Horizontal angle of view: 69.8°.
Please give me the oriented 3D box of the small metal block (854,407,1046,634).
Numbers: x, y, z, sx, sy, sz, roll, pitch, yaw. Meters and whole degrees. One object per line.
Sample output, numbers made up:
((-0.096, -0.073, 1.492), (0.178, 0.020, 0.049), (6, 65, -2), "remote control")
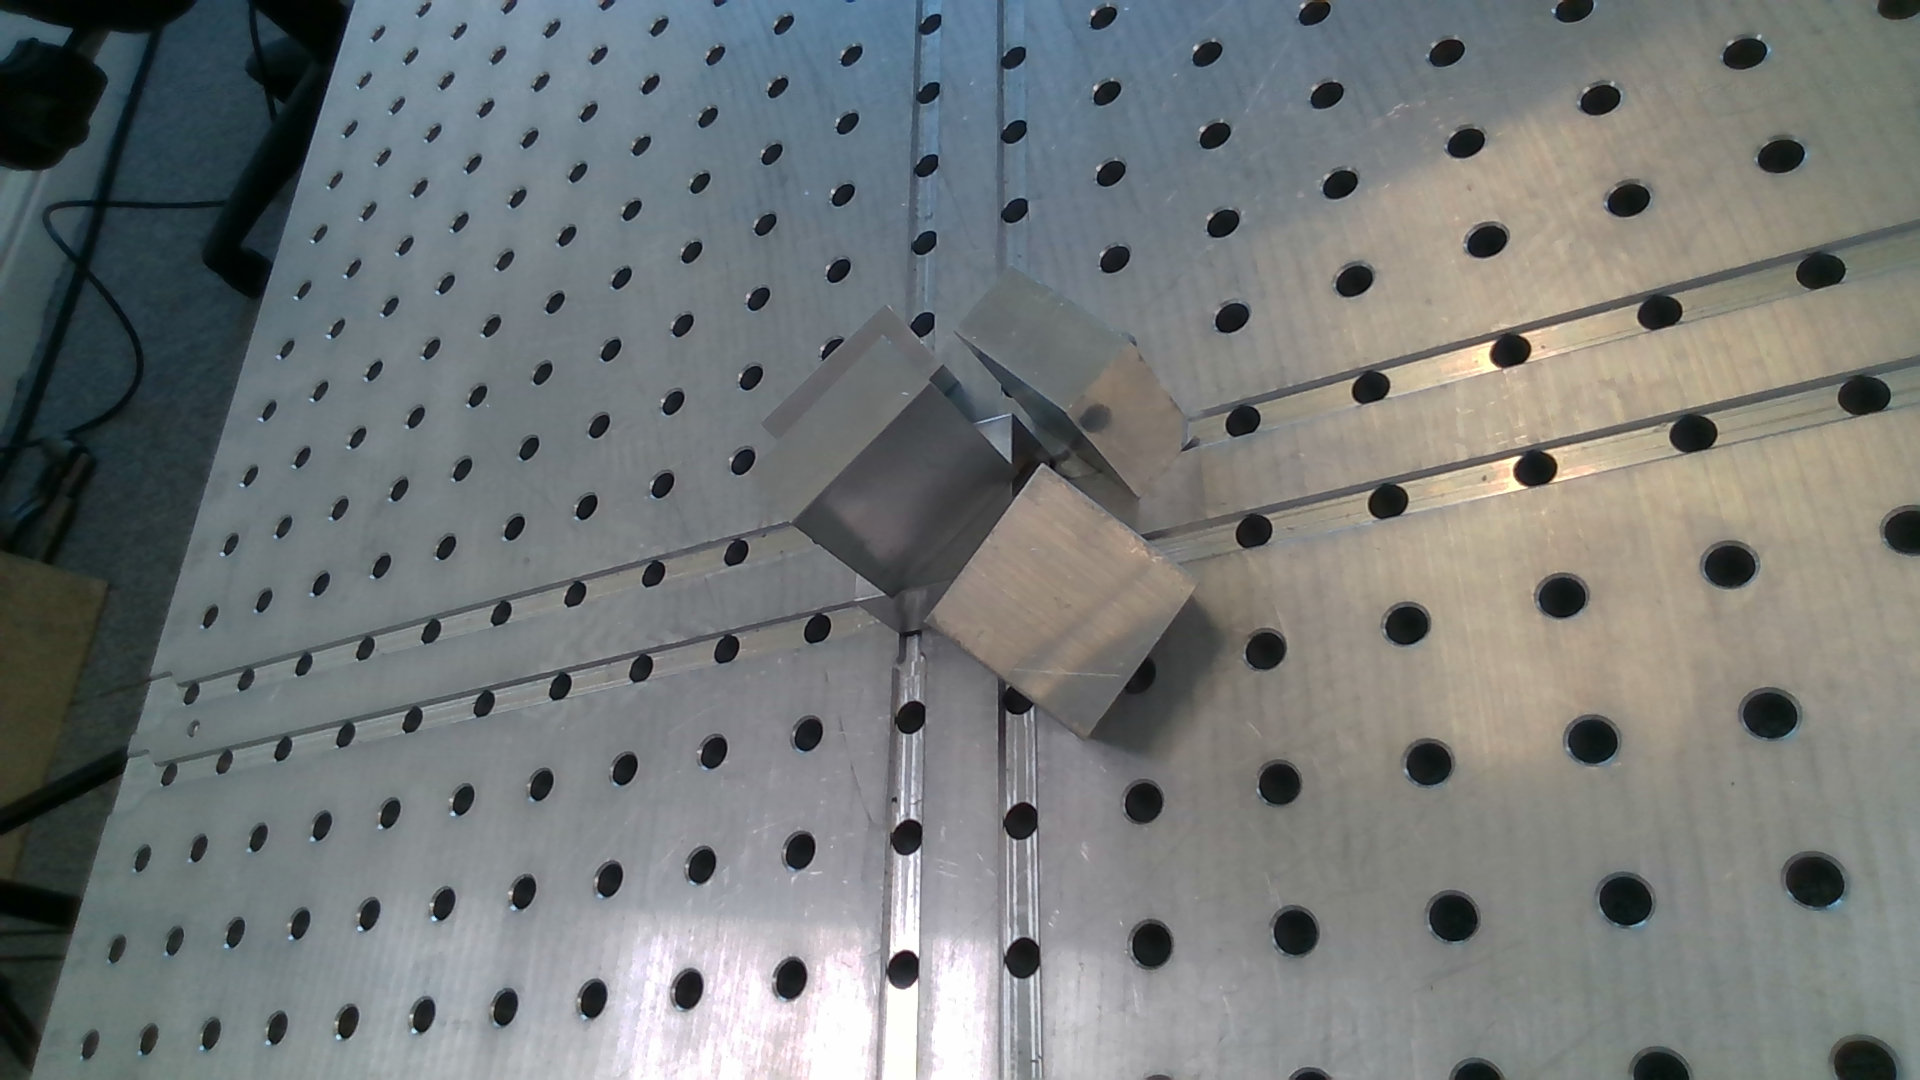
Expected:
((-0.002, -0.005, 0.399), (0.050, 0.025, 0.050), (-14, 60, 25), "small metal block")

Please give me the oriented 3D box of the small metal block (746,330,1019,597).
((-0.020, -0.019, 0.370), (0.050, 0.050, 0.025), (-45, 52, 4), "small metal block")

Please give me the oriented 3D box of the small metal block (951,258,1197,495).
((0.032, -0.045, 0.384), (0.025, 0.050, 0.050), (-49, 51, 0), "small metal block")

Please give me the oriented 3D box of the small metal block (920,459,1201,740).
((0.025, 0.015, 0.355), (0.050, 0.025, 0.050), (37, 86, -1), "small metal block")

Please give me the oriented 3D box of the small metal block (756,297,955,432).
((-0.030, -0.044, 0.418), (0.050, 0.050, 0.025), (-43, 88, 5), "small metal block")
